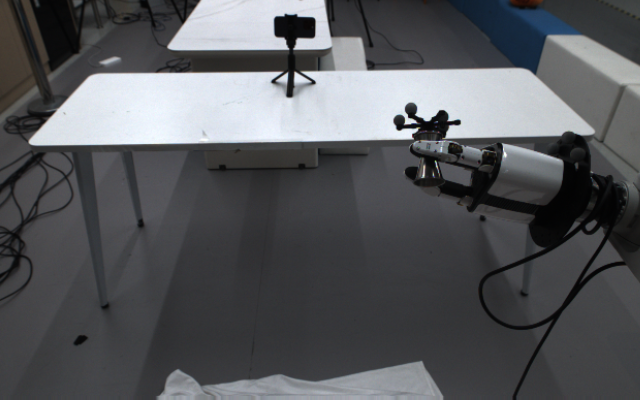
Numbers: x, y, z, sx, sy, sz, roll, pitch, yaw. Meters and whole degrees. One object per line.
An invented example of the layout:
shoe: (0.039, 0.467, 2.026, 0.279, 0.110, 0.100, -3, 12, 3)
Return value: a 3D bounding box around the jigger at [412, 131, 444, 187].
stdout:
jigger: (0.148, -0.058, 0.666, 0.043, 0.043, 0.071, 3, 76, 1)
